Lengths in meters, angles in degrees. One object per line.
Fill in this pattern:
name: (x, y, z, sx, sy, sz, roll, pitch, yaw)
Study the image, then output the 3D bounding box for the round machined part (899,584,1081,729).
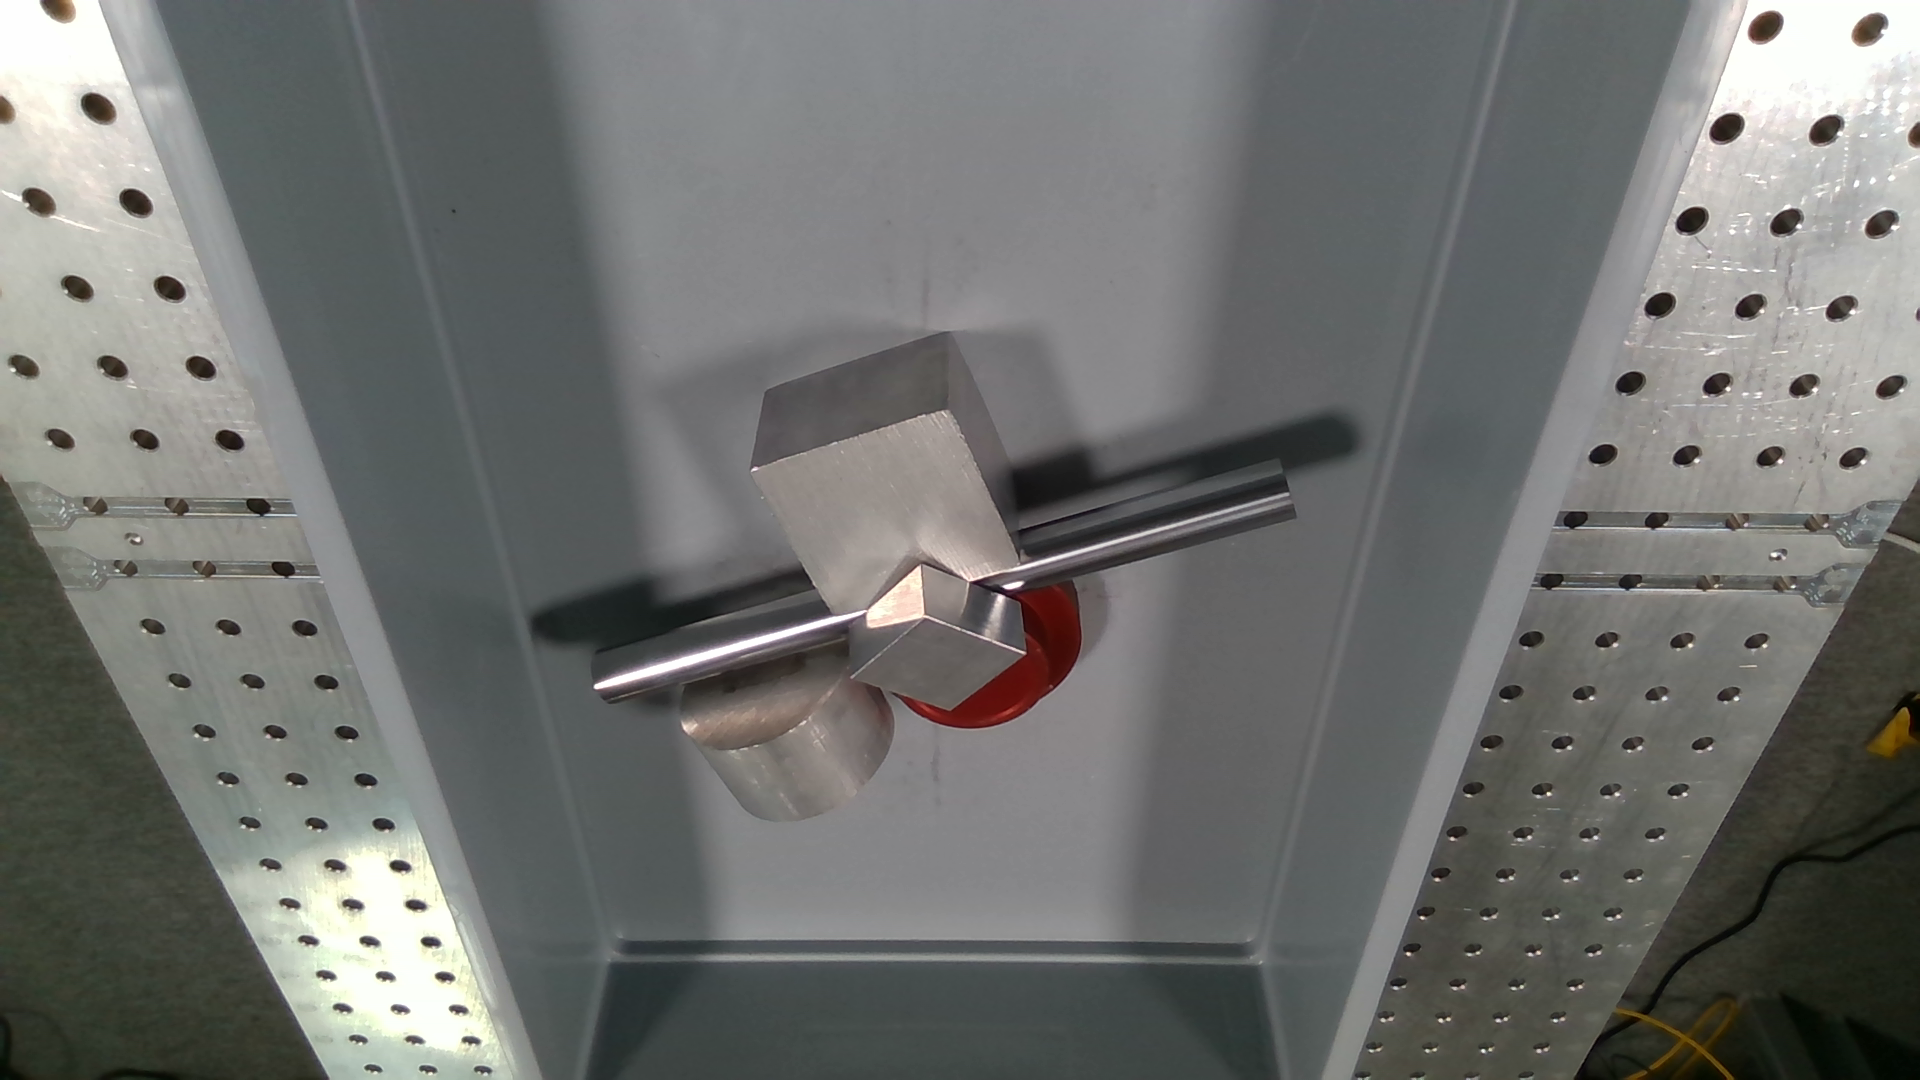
round machined part: (0.004, 0.045, 0.604, 0.098, 0.042, 0.098, 0, 130, 0)

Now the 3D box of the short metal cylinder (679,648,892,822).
short metal cylinder: (-0.076, 0.076, 0.606, 0.080, 0.080, 0.050, -16, 128, 13)

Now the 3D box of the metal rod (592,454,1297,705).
metal rod: (-0.014, 0.019, 0.567, 0.300, 0.025, 0.025, -16, 128, 13)

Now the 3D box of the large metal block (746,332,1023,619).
large metal block: (-0.027, -0.024, 0.538, 0.080, 0.050, 0.080, -16, 128, 13)

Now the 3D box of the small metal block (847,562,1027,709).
small metal block: (-0.010, 0.040, 0.548, 0.050, 0.025, 0.050, 22, 134, -32)
